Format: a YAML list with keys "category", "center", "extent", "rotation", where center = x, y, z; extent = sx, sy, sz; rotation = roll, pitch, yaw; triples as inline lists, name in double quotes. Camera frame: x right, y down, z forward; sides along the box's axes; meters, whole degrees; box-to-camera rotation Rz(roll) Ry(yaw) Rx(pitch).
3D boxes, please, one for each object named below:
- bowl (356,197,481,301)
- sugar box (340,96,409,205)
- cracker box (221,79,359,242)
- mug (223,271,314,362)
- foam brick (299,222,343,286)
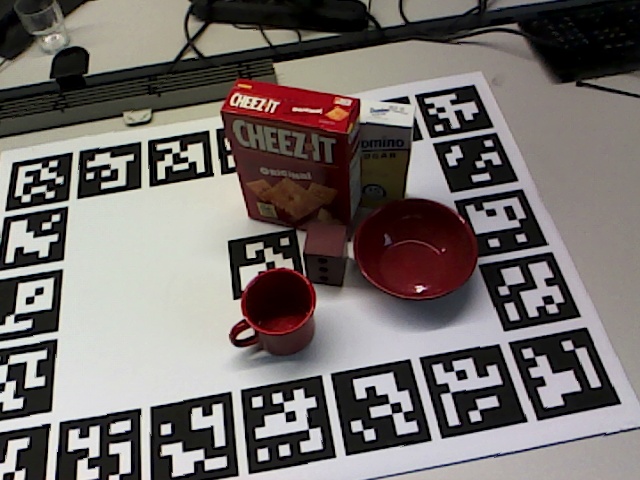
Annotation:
- category: "bowl"
  center: [0.129, 0.021, 0.822]
  extent: [0.162, 0.055, 0.162]
  rotation: [-3, 56, 4]
- category: "sugar box"
  center: [0.074, -0.120, 0.865]
  extent: [0.093, 0.176, 0.045]
  rotation: [7, 56, 11]
- category: "cracker box"
  center: [-0.034, -0.100, 0.841]
  extent: [0.165, 0.213, 0.072]
  rotation: [15, 56, 15]
- category: "mug"
  center: [-0.063, 0.103, 0.777]
  extent: [0.117, 0.081, 0.094]
  rotation: [-18, 47, -5]
- category: "foam brick"
  center: [0.003, 0.020, 0.841]
  extent: [0.053, 0.078, 0.051]
  rotation: [2, 54, 8]
